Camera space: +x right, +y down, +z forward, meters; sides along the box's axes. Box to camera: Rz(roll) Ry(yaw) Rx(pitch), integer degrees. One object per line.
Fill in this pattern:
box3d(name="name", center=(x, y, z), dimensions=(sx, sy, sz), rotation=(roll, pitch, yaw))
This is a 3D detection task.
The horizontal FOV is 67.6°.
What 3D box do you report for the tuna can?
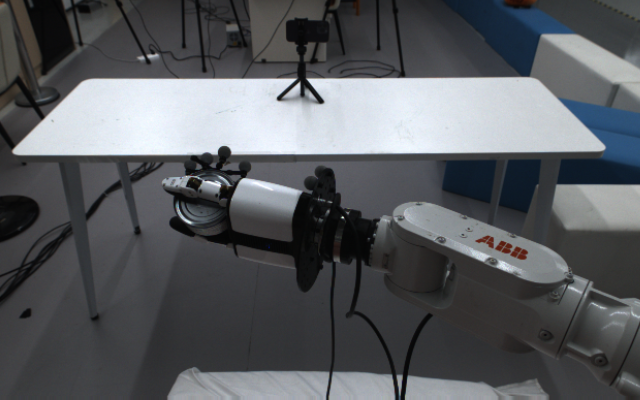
box3d(name="tuna can", center=(-0.149, 0.005, 0.650), dimensions=(0.085, 0.034, 0.085), rotation=(-3, 61, 5))
